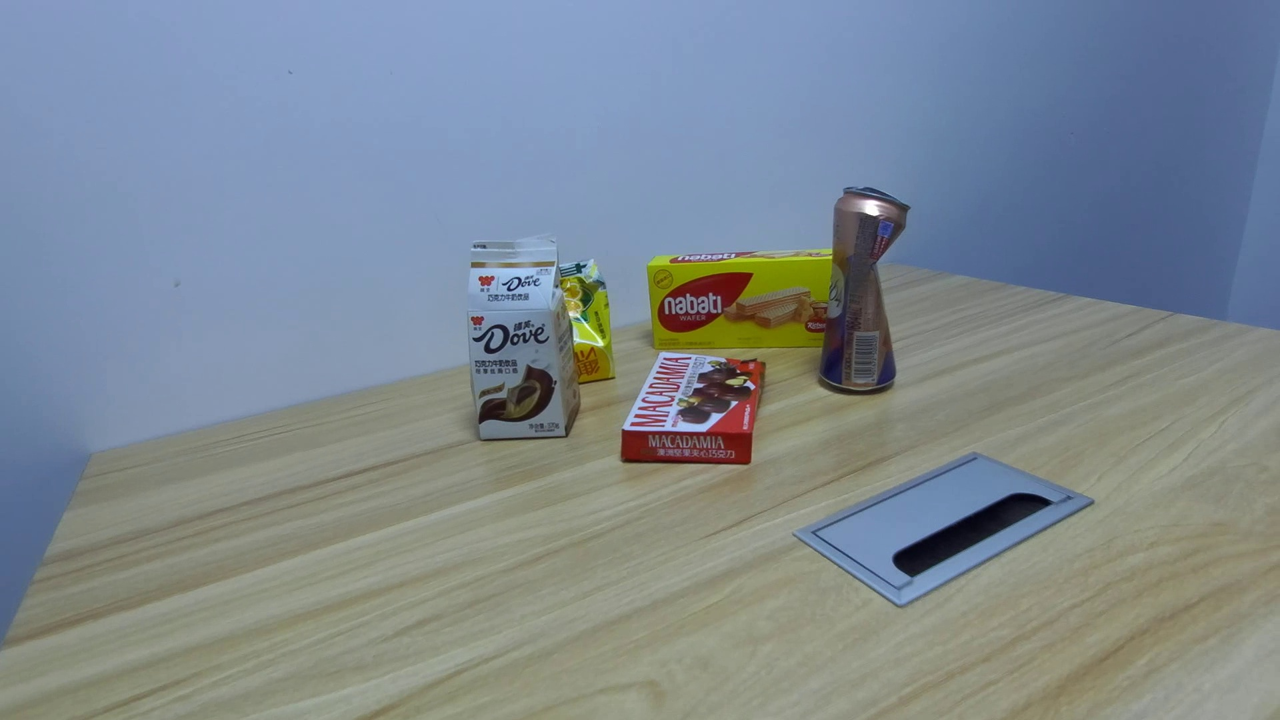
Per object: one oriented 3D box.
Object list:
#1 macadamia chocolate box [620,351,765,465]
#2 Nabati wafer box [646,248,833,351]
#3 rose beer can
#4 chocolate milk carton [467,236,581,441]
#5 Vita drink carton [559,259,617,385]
[{"bbox_3d":[0.051,0.031,0.581,0.102,0.027,0.187,1,20,11],"label":"macadamia chocolate box"},{"bbox_3d":[0.112,-0.060,0.727,0.202,0.093,0.042,0,17,11],"label":"Nabati wafer box"},{"bbox_3d":[0.187,-0.057,0.591,0.070,0.168,0.069,-10,20,-32],"label":"rose beer can"},{"bbox_3d":[-0.099,-0.021,0.574,0.084,0.155,0.073,-3,19,7],"label":"chocolate milk carton"},{"bbox_3d":[-0.064,-0.034,0.671,0.071,0.110,0.046,-10,17,-10],"label":"Vita drink carton"}]
